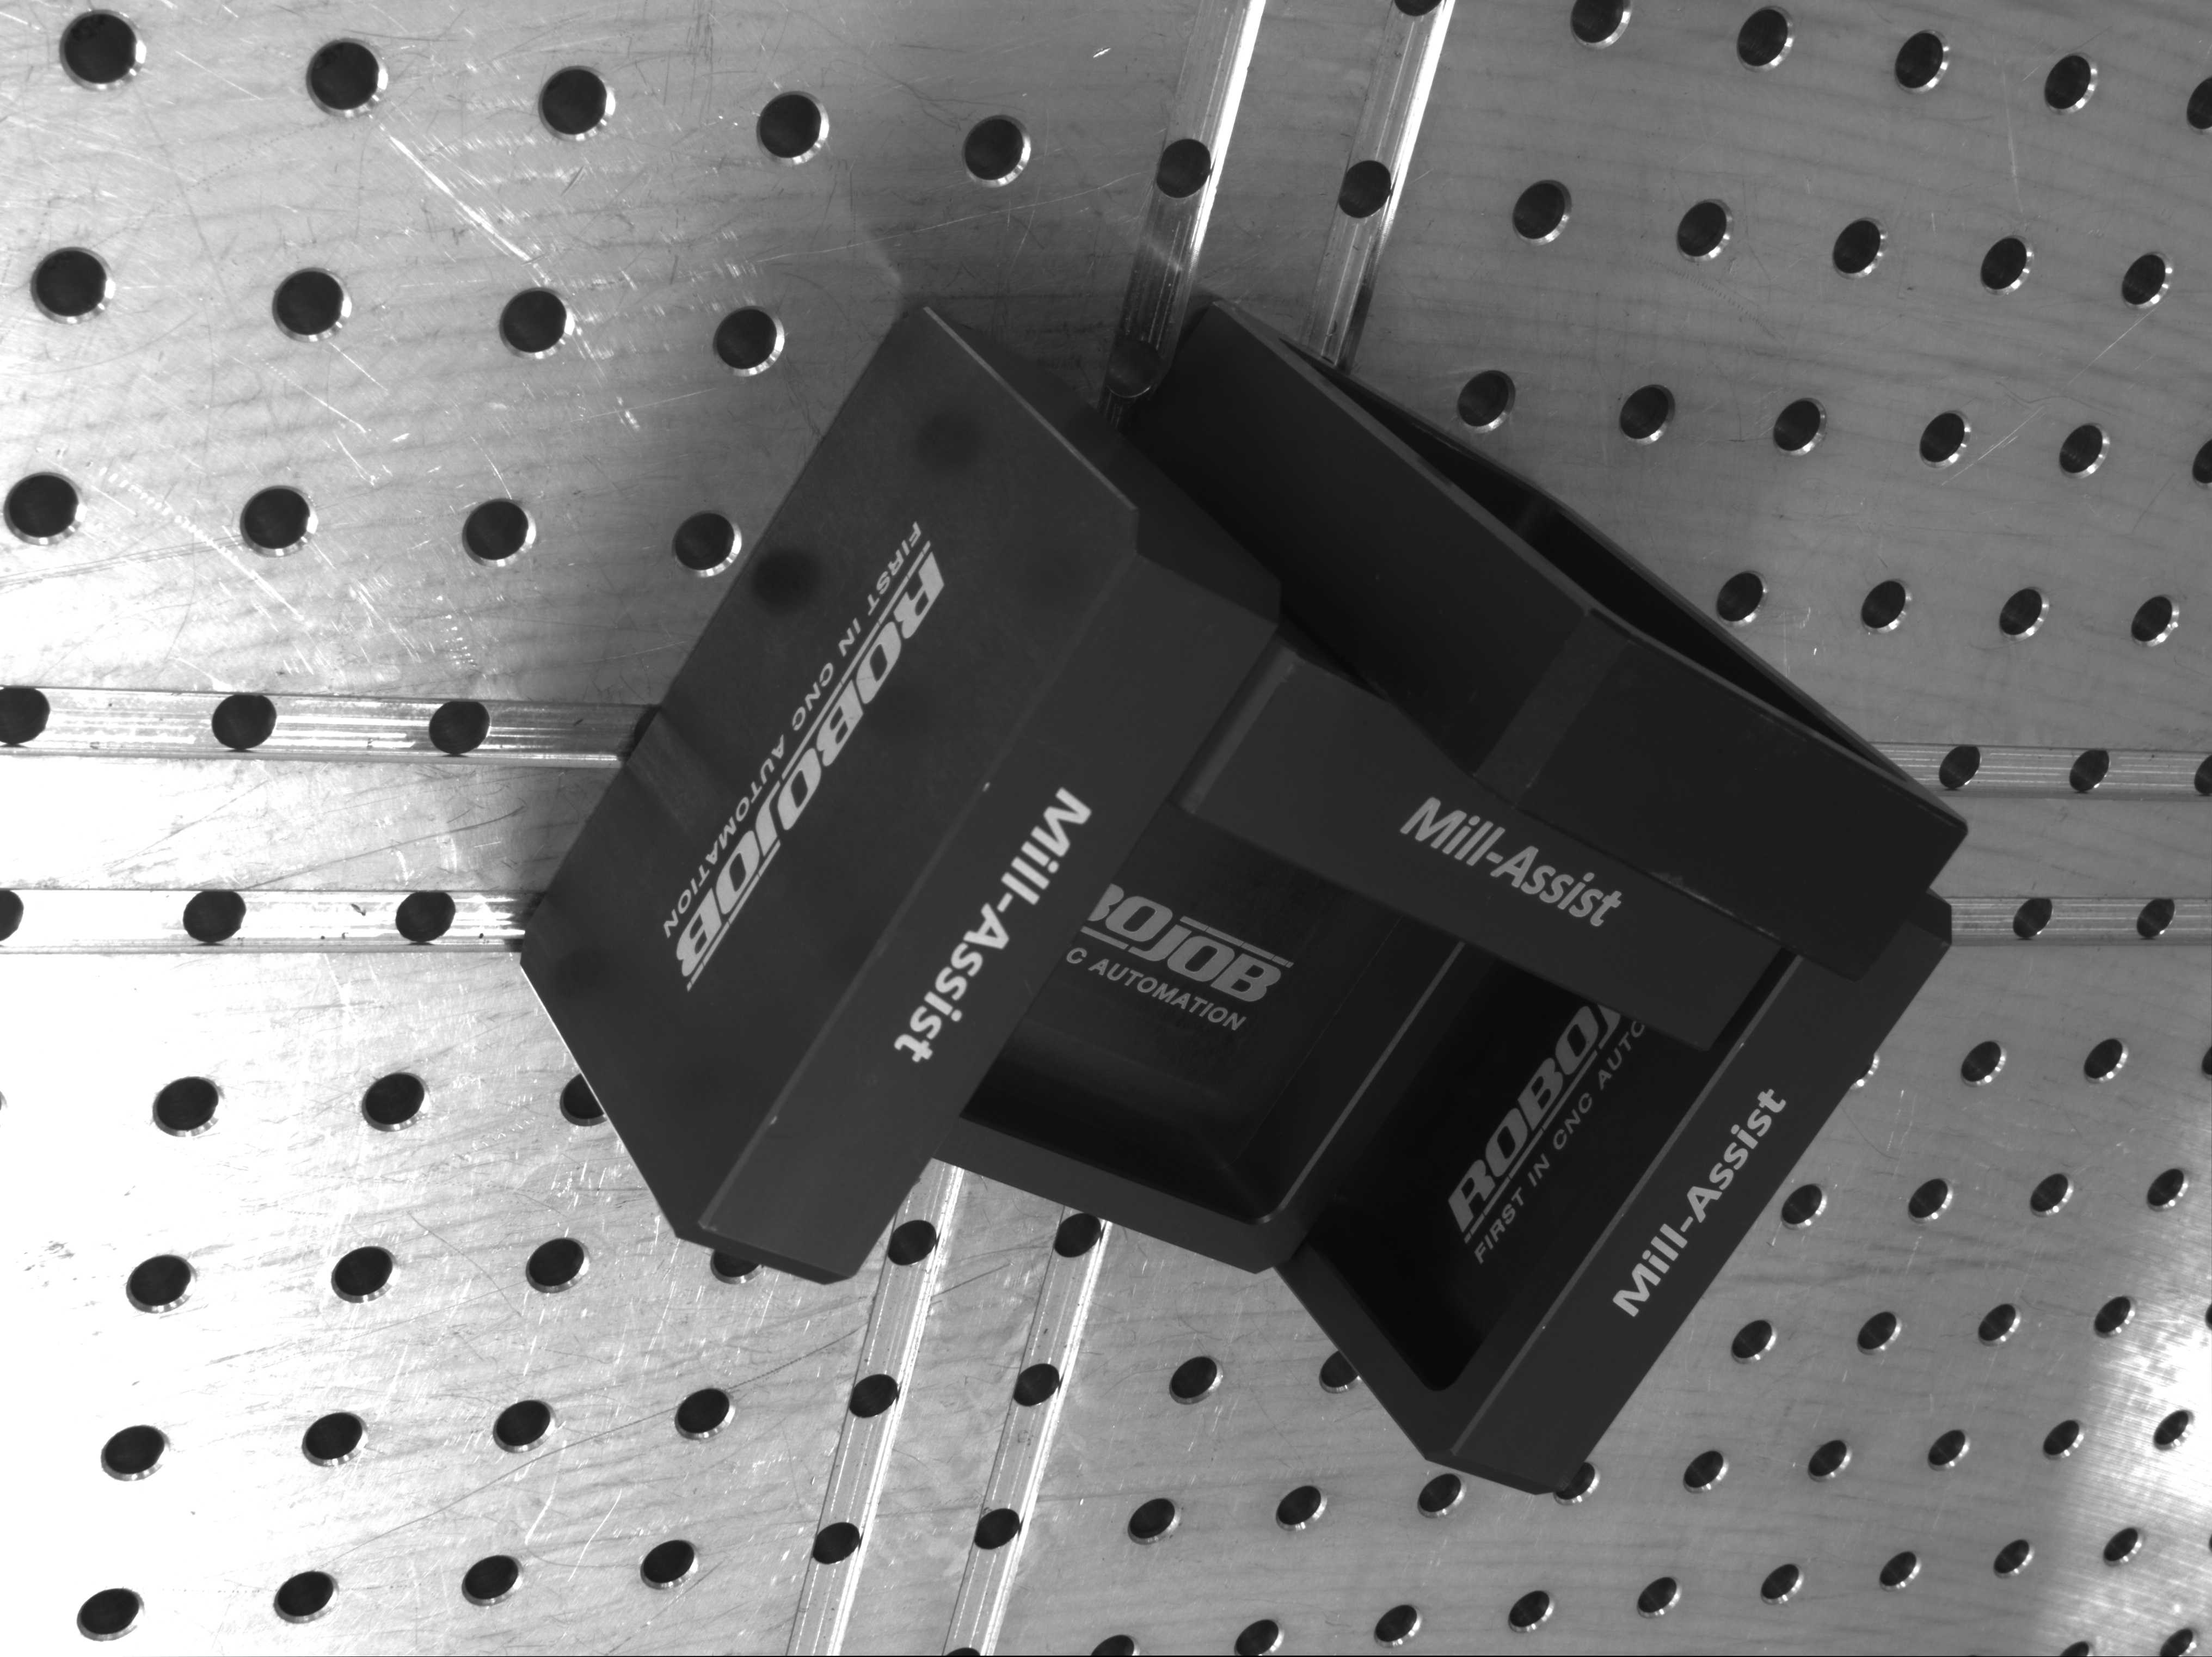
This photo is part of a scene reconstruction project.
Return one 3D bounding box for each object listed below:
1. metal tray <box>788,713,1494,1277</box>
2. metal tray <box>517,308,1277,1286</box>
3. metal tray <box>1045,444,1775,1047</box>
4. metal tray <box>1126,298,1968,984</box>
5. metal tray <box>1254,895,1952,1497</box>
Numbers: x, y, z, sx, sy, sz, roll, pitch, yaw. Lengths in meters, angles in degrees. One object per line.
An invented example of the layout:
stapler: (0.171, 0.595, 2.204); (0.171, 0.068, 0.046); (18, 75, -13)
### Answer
metal tray: (0.002, 0.021, 0.650); (0.130, 0.030, 0.090); (24, 105, -37)
metal tray: (-0.036, -0.006, 0.575); (0.030, 0.090, 0.130); (24, 105, -37)
metal tray: (0.046, -0.016, 0.614); (0.130, 0.090, 0.030); (24, 106, -37)
metal tray: (0.068, -0.032, 0.589); (0.090, 0.130, 0.030); (25, 105, -37)
metal tray: (0.085, 0.044, 0.670); (0.030, 0.090, 0.130); (24, 105, -36)
